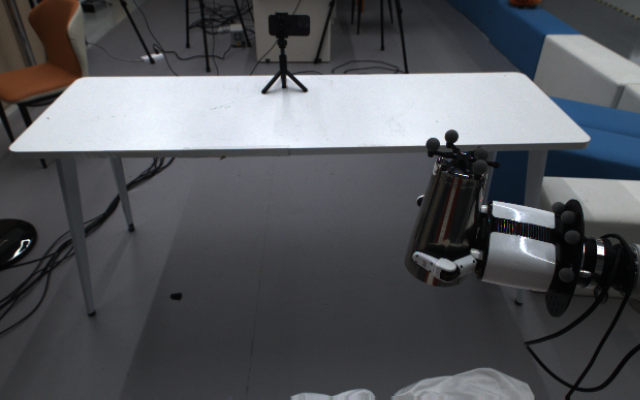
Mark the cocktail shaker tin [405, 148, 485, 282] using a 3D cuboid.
[{"bbox_3d":[0.175,0.024,0.661,0.093,0.170,0.093,3,34,-2],"label":"cocktail shaker tin"}]
